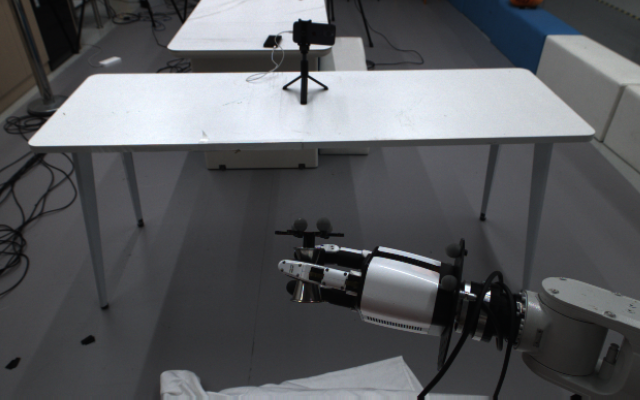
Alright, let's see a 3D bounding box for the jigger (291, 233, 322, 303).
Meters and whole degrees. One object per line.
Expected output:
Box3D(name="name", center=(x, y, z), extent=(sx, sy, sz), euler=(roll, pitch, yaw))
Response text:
Box3D(name="jigger", center=(-0.015, 0.094, 0.619), extent=(0.043, 0.071, 0.043), euler=(2, -6, 0))
